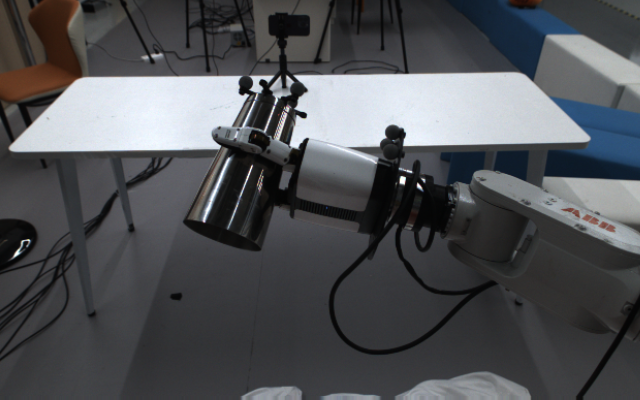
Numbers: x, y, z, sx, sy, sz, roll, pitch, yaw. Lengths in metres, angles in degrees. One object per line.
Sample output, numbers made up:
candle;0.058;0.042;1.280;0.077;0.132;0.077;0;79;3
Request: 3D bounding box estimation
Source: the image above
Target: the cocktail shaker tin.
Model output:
cocktail shaker tin;-0.084;-0.036;0.566;0.093;0.093;0.170;12;71;14
